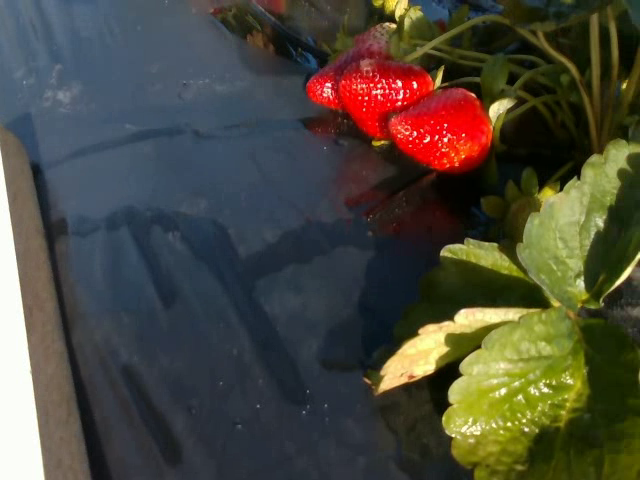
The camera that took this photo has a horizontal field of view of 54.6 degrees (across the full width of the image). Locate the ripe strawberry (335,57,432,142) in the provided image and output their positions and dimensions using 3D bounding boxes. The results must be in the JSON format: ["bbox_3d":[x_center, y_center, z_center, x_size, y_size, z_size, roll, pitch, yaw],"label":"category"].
[{"bbox_3d":[0.023,-0.058,0.233,0.039,0.031,0.037,23,-59,-37],"label":"ripe strawberry"}]

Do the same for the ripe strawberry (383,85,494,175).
[{"bbox_3d":[0.037,-0.039,0.216,0.041,0.034,0.035,4,31,-37],"label":"ripe strawberry"}]

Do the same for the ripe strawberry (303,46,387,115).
[{"bbox_3d":[0.013,-0.070,0.258,0.045,0.023,0.032,-25,45,-11],"label":"ripe strawberry"}]
